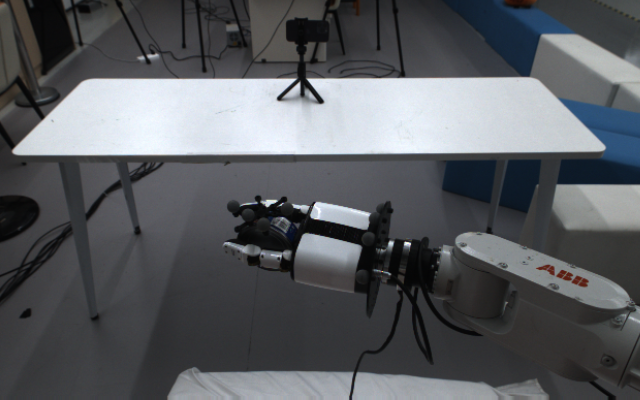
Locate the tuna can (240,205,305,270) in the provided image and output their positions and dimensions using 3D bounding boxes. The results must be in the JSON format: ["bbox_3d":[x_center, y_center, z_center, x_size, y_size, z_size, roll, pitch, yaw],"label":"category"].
[{"bbox_3d":[-0.069,0.058,0.678,0.085,0.085,0.034,11,38,13],"label":"tuna can"}]
